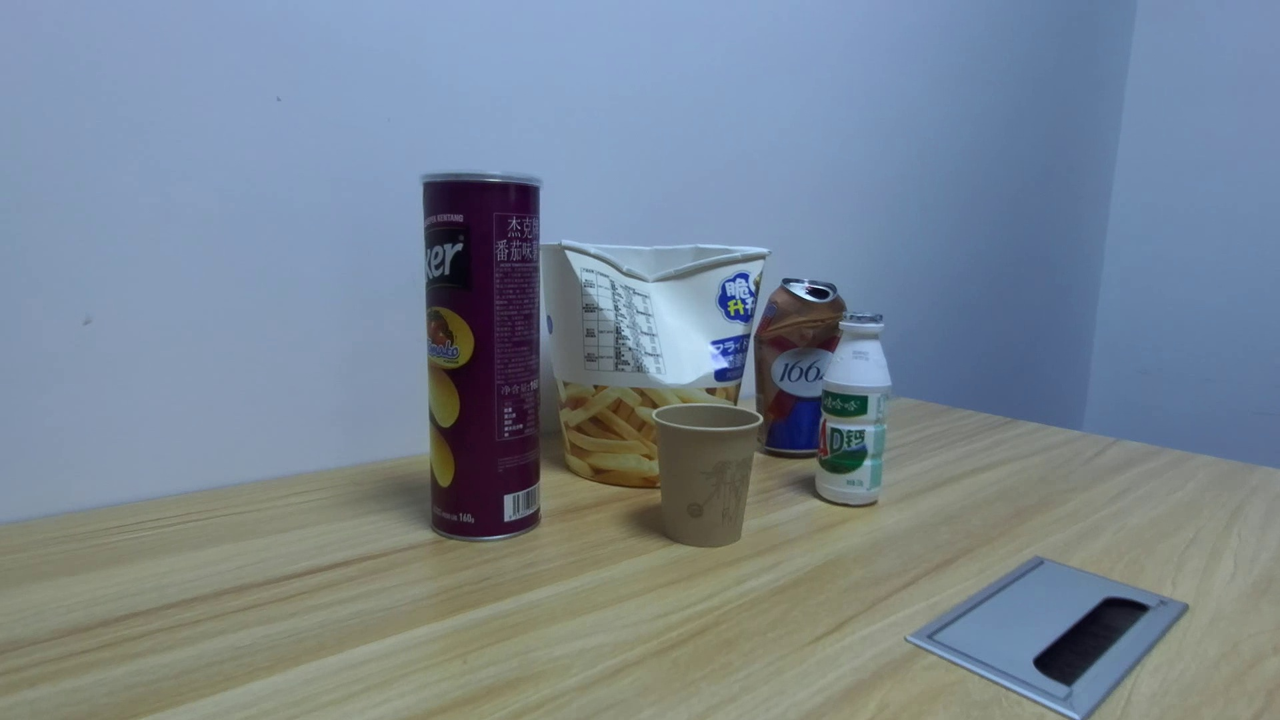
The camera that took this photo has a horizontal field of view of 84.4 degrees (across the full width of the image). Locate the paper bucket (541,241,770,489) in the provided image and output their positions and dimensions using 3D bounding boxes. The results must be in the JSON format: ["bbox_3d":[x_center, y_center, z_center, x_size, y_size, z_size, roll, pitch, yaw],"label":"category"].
[{"bbox_3d":[0.000,-0.002,0.620,0.163,0.202,0.168,-7,9,-38],"label":"paper bucket"}]

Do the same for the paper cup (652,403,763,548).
[{"bbox_3d":[0.044,0.078,0.480,0.075,0.082,0.075,2,9,0],"label":"paper cup"}]

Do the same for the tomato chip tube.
[{"bbox_3d":[-0.104,-0.002,0.480,0.078,0.233,0.078,1,9,0],"label":"tomato chip tube"}]

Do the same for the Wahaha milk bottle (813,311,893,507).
[{"bbox_3d":[0.167,0.037,0.552,0.053,0.147,0.053,2,8,0],"label":"Wahaha milk bottle"}]

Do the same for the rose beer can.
[{"bbox_3d":[0.152,0.008,0.674,0.069,0.168,0.069,13,16,35],"label":"rose beer can"}]
